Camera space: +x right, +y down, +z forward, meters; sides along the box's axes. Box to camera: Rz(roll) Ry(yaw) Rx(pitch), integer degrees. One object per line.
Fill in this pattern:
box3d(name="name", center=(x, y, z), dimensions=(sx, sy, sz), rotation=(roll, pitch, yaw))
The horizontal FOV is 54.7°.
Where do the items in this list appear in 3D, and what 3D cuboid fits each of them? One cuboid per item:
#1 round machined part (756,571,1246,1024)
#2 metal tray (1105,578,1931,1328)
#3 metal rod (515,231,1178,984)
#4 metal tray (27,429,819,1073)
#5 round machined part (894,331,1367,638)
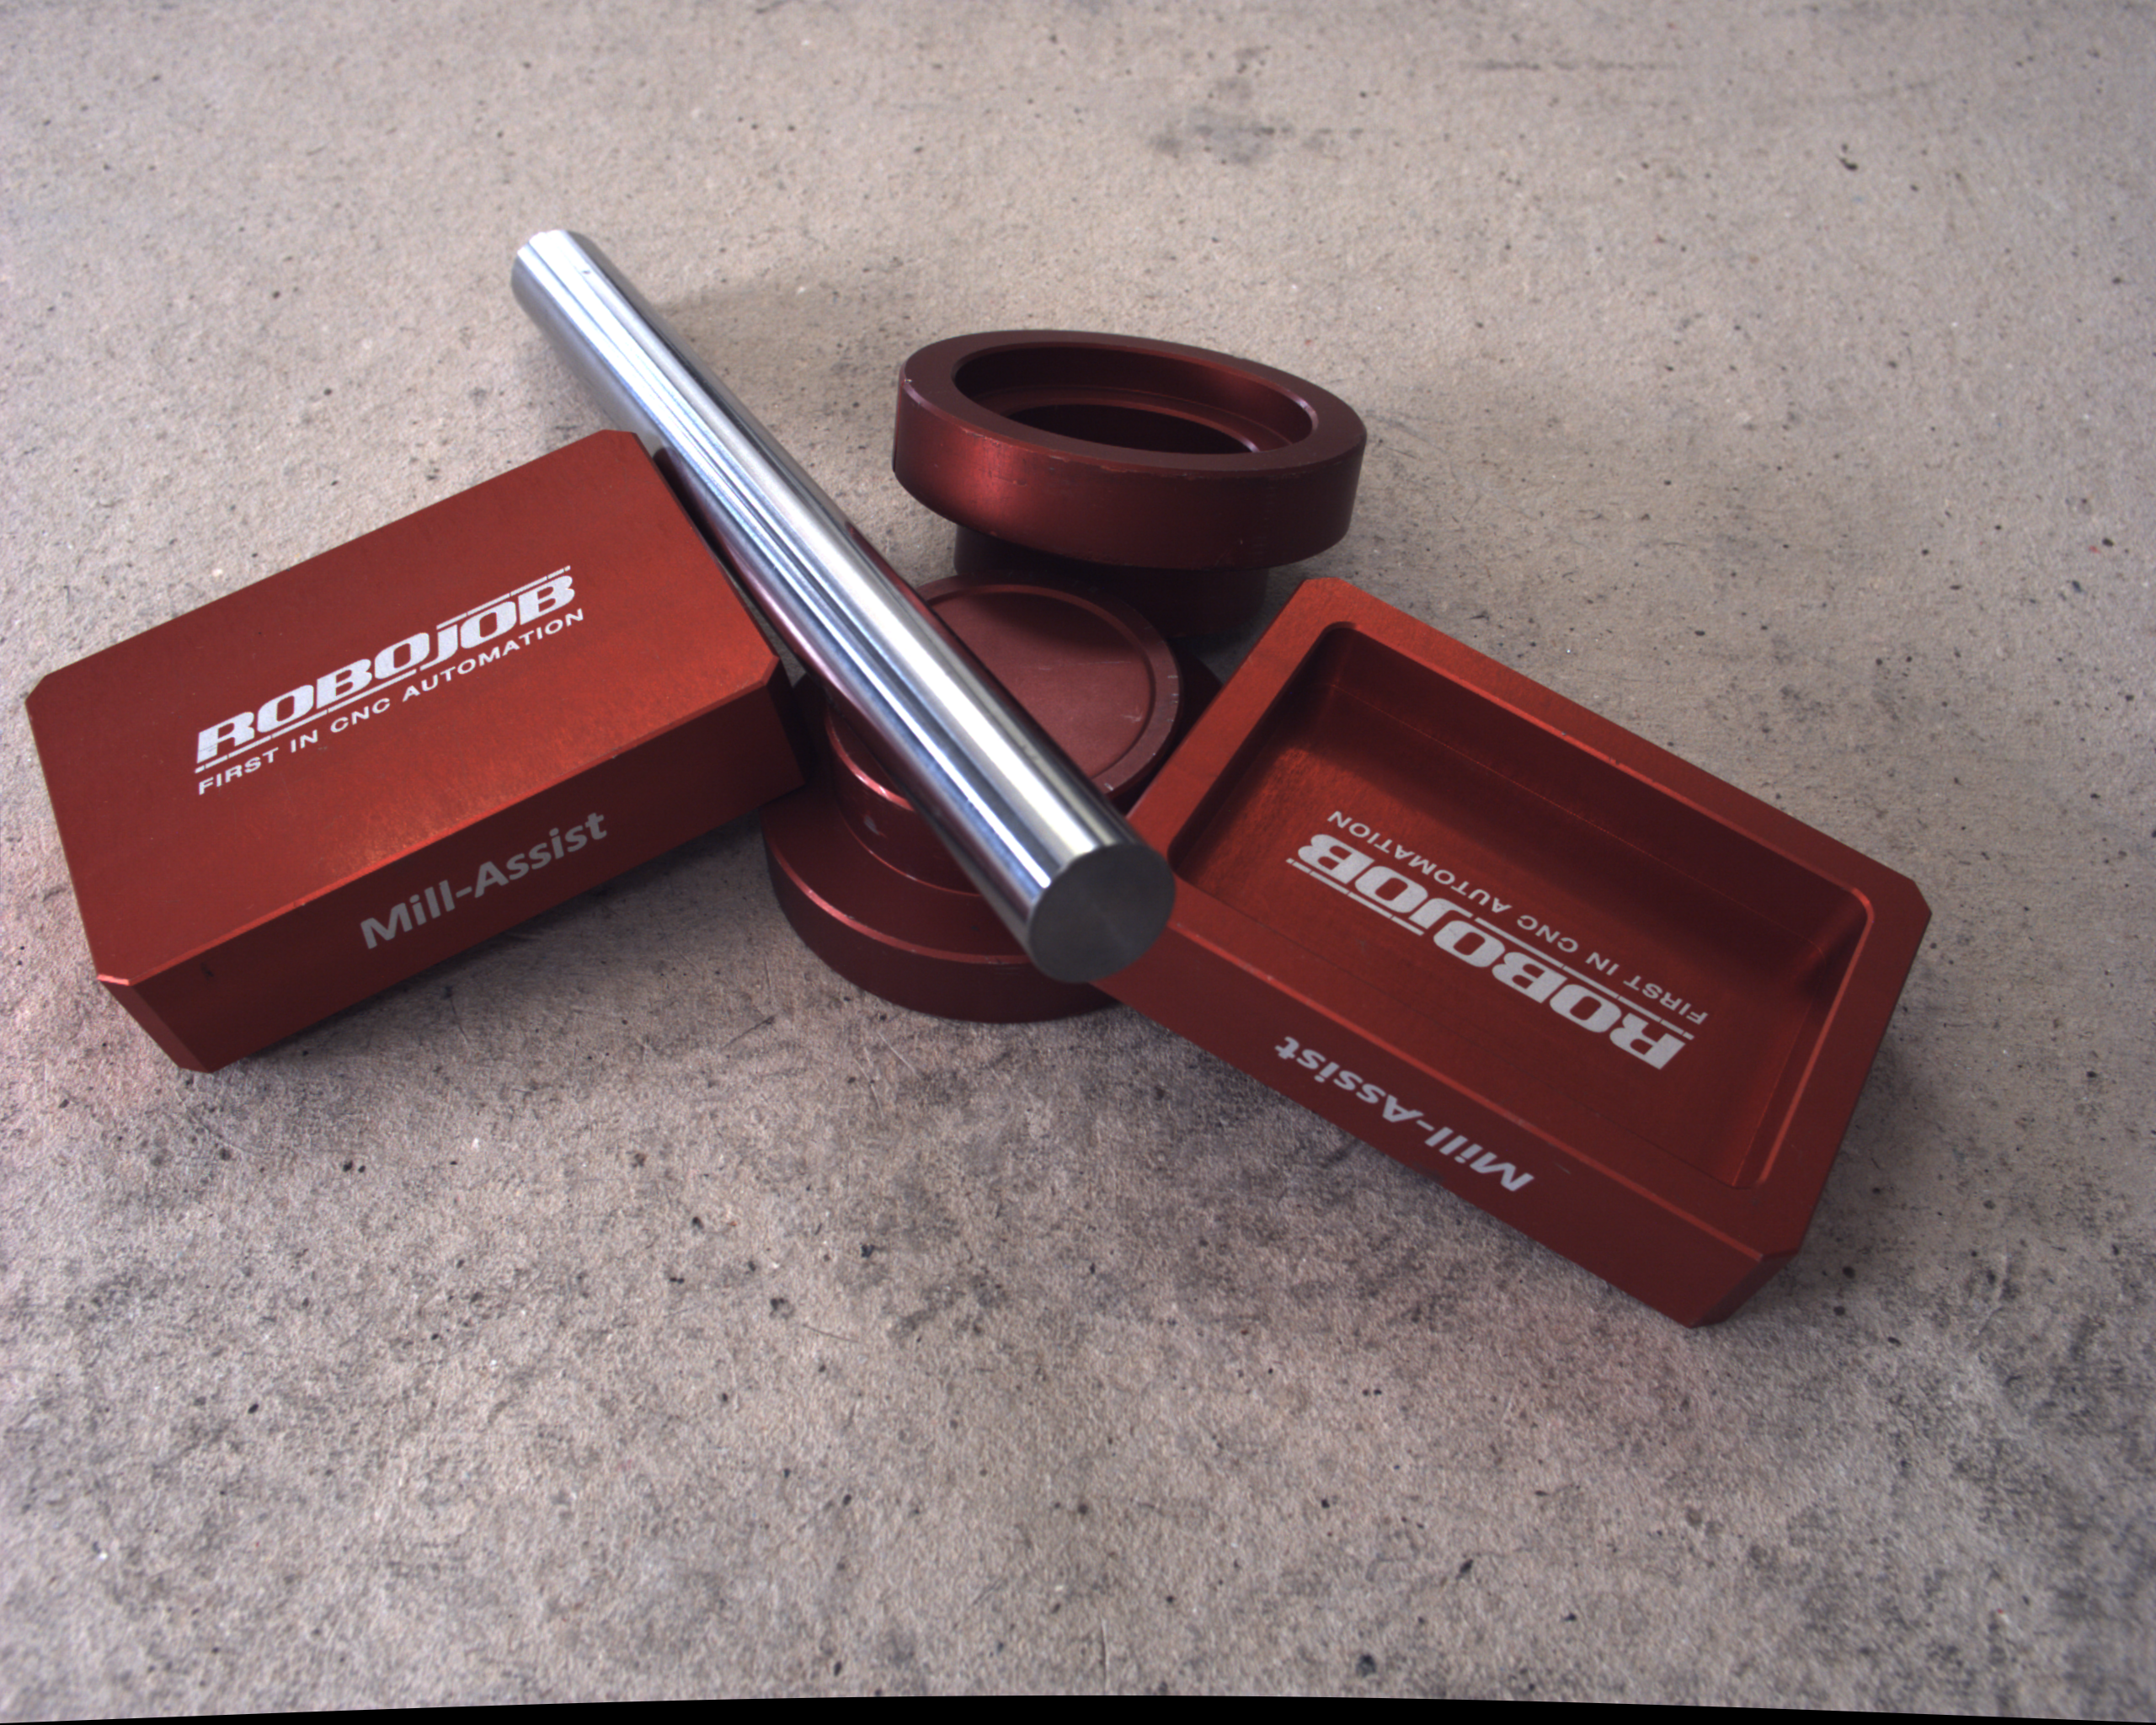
box3d(name="round machined part", center=(-0.014, -0.020, 0.411), dimensions=(0.099, 0.042, 0.098), rotation=(0, 50, 0))
box3d(name="metal tray", center=(0.076, 0.012, 0.378), dimensions=(0.130, 0.030, 0.090), rotation=(30, 55, 10))
box3d(name="metal rod", center=(-0.063, -0.070, 0.420), dimensions=(0.025, 0.025, 0.300), rotation=(-22, 40, -17))
box3d(name="metal tray", center=(-0.129, -0.026, 0.408), dimensions=(0.131, 0.030, 0.090), rotation=(-27, 52, -11))
box3d(name="round machined part", center=(0.010, -0.080, 0.447), dimensions=(0.099, 0.042, 0.098), rotation=(6, 28, -3))
